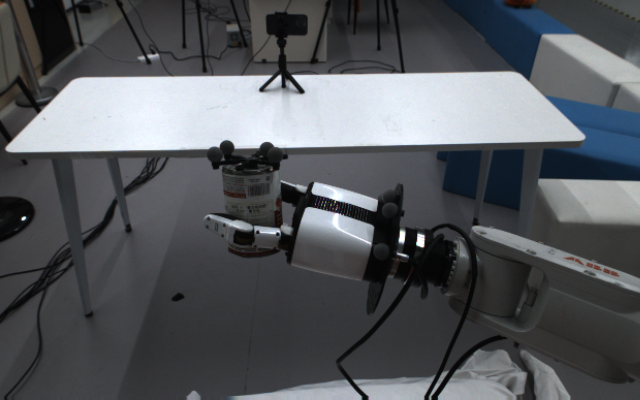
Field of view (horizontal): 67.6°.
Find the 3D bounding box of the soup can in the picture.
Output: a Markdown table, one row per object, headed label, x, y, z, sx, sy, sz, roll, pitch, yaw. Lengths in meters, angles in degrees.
| label | x | y | z | sx | sy | sz | roll | pitch | yaw |
| --- | --- | --- | --- | --- | --- | --- | --- | --- | --- |
| soup can | -0.076 | 0.009 | 0.565 | 0.067 | 0.101 | 0.067 | -2 | 17 | 0 |
